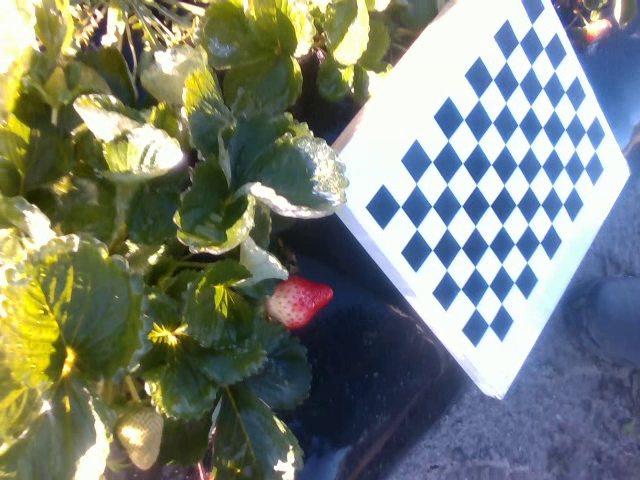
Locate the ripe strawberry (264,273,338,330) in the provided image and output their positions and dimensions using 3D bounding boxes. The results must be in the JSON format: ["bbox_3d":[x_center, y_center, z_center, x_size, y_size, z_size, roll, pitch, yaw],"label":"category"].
[{"bbox_3d":[-0.011,0.050,0.488,0.065,0.040,0.040,-8,5,-34],"label":"ripe strawberry"}]
